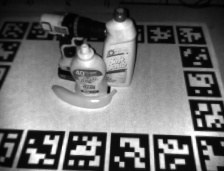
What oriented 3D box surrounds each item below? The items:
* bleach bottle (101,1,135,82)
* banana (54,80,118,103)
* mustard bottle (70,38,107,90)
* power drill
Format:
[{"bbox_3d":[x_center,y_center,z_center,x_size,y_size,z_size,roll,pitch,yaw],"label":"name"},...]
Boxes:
[{"bbox_3d":[0.009,-0.114,0.600,0.102,0.252,0.067,4,52,4],"label":"bleach bottle"},{"bbox_3d":[-0.084,0.016,0.647,0.197,0.039,0.074,5,58,6],"label":"banana"},{"bbox_3d":[-0.064,-0.055,0.590,0.096,0.192,0.058,2,57,2],"label":"mustard bottle"},{"bbox_3d":[-0.100,-0.127,0.612,0.184,0.188,0.057,13,57,7],"label":"power drill"}]
